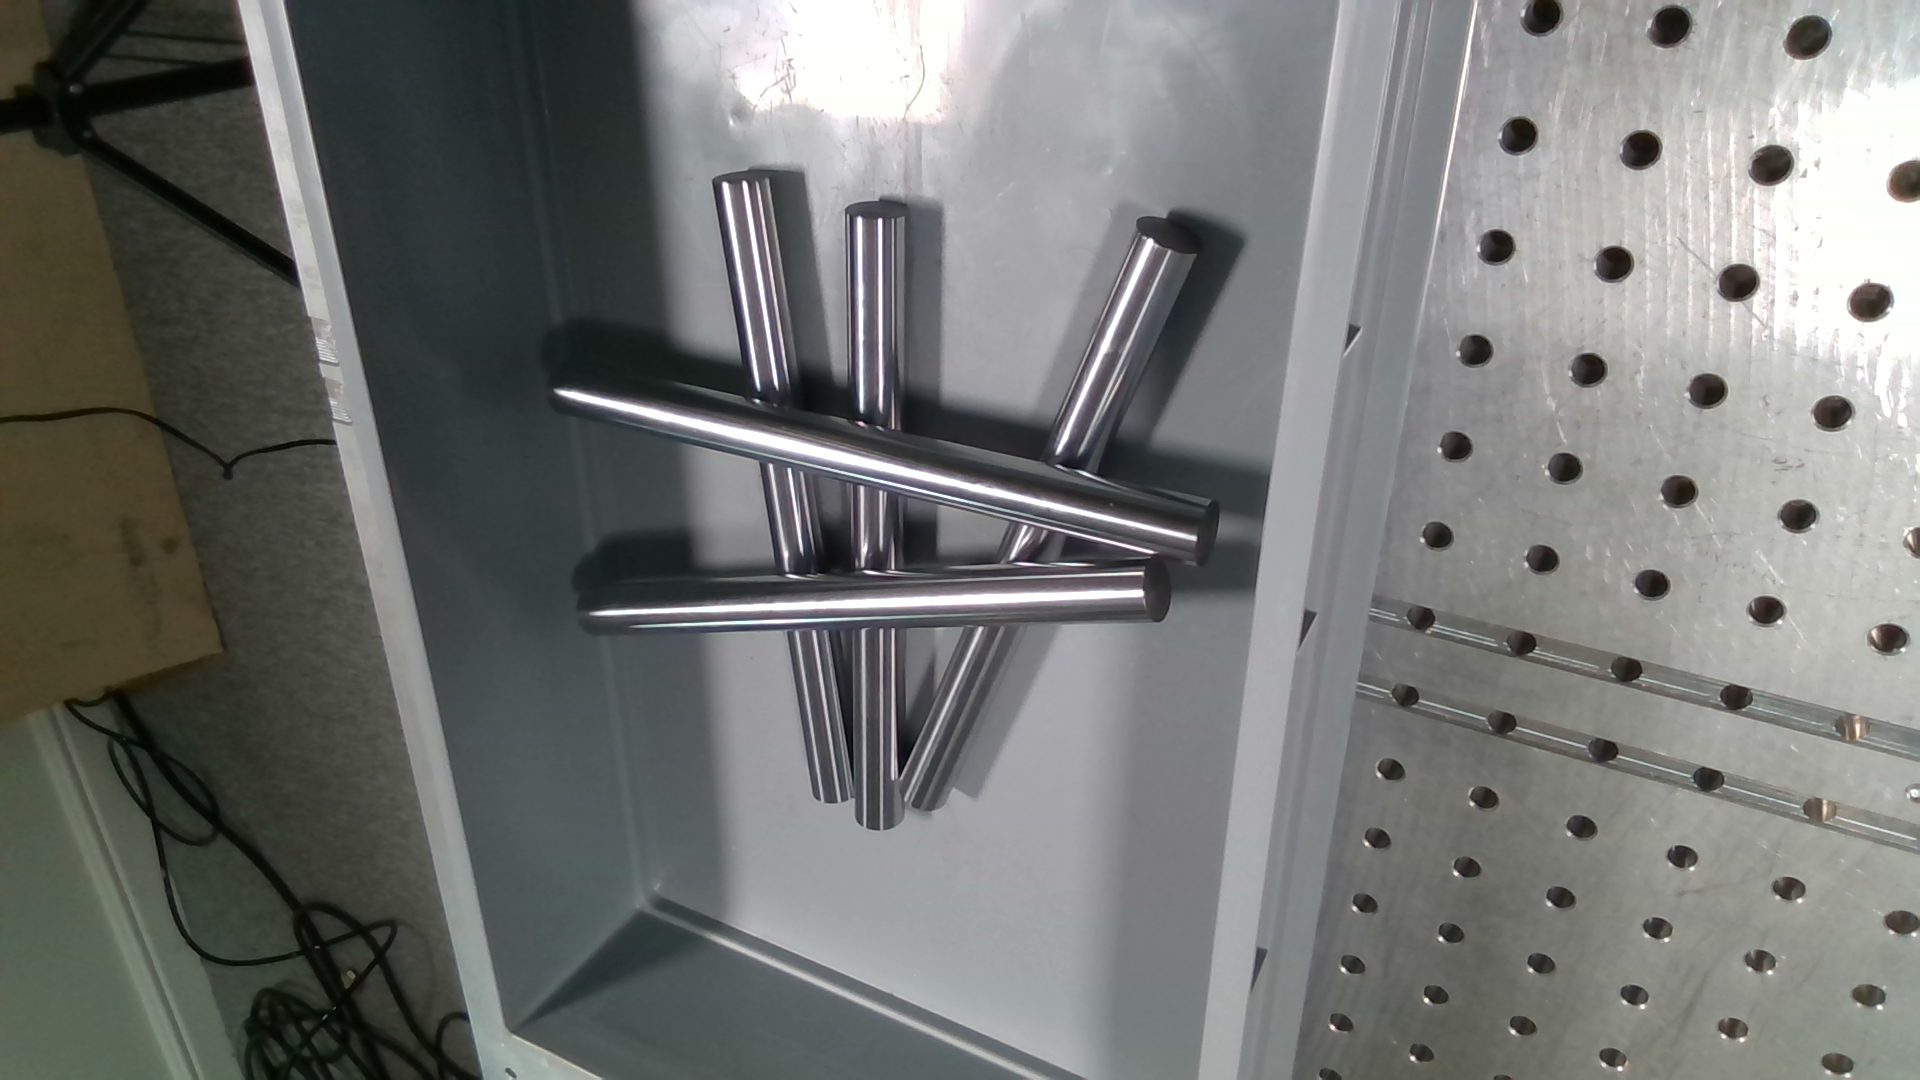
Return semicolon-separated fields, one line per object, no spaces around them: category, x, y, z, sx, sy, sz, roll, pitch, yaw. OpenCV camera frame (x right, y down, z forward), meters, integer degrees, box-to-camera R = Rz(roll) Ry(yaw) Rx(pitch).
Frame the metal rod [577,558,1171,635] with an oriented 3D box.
metal rod;-0.052;0.027;0.593;0.300;0.025;0.025;-4;113;33

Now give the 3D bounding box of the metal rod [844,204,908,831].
metal rod;-0.036;0.004;0.602;0.025;0.025;0.301;16;123;24

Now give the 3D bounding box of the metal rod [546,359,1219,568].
metal rod;-0.044;-0.035;0.553;0.300;0.025;0.025;14;122;25

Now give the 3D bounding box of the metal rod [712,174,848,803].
metal rod;-0.074;-0.011;0.618;0.025;0.025;0.301;9;120;27

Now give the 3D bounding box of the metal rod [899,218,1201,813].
metal rod;0.027;0.007;0.565;0.025;0.025;0.301;32;128;13
